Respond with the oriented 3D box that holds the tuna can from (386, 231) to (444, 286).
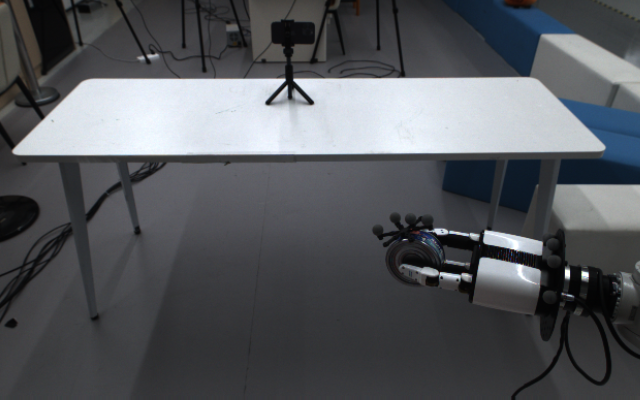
[{"bbox_3d":[0.147,0.087,0.737,0.085,0.085,0.034,15,30,17],"label":"tuna can"}]
